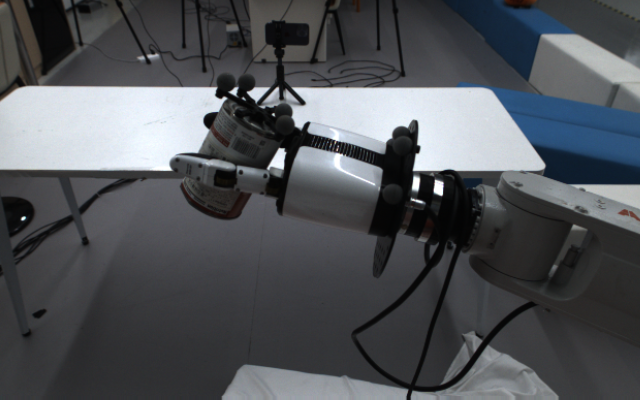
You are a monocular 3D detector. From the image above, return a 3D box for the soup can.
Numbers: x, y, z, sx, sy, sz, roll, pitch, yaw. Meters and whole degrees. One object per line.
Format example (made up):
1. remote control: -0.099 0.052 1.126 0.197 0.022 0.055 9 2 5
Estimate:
1. soup can: -0.084 -0.040 0.480 0.067 0.101 0.067 28 22 -12
